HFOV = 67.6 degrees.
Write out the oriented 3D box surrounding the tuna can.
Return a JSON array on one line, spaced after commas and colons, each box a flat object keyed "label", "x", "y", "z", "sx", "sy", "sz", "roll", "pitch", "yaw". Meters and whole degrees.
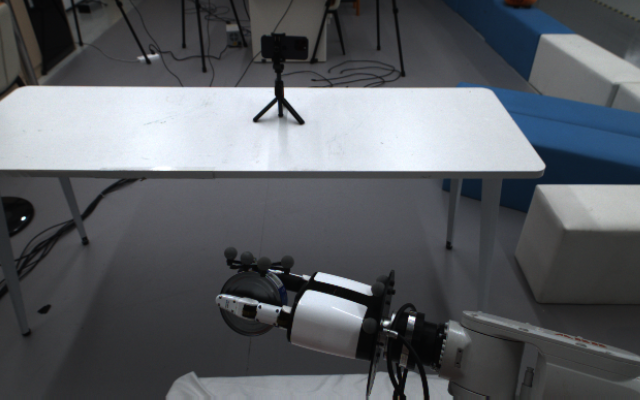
[{"label": "tuna can", "x": -0.086, "y": 0.133, "z": 0.638, "sx": 0.085, "sy": 0.085, "sz": 0.034, "roll": 12, "pitch": 2, "yaw": 13}]
